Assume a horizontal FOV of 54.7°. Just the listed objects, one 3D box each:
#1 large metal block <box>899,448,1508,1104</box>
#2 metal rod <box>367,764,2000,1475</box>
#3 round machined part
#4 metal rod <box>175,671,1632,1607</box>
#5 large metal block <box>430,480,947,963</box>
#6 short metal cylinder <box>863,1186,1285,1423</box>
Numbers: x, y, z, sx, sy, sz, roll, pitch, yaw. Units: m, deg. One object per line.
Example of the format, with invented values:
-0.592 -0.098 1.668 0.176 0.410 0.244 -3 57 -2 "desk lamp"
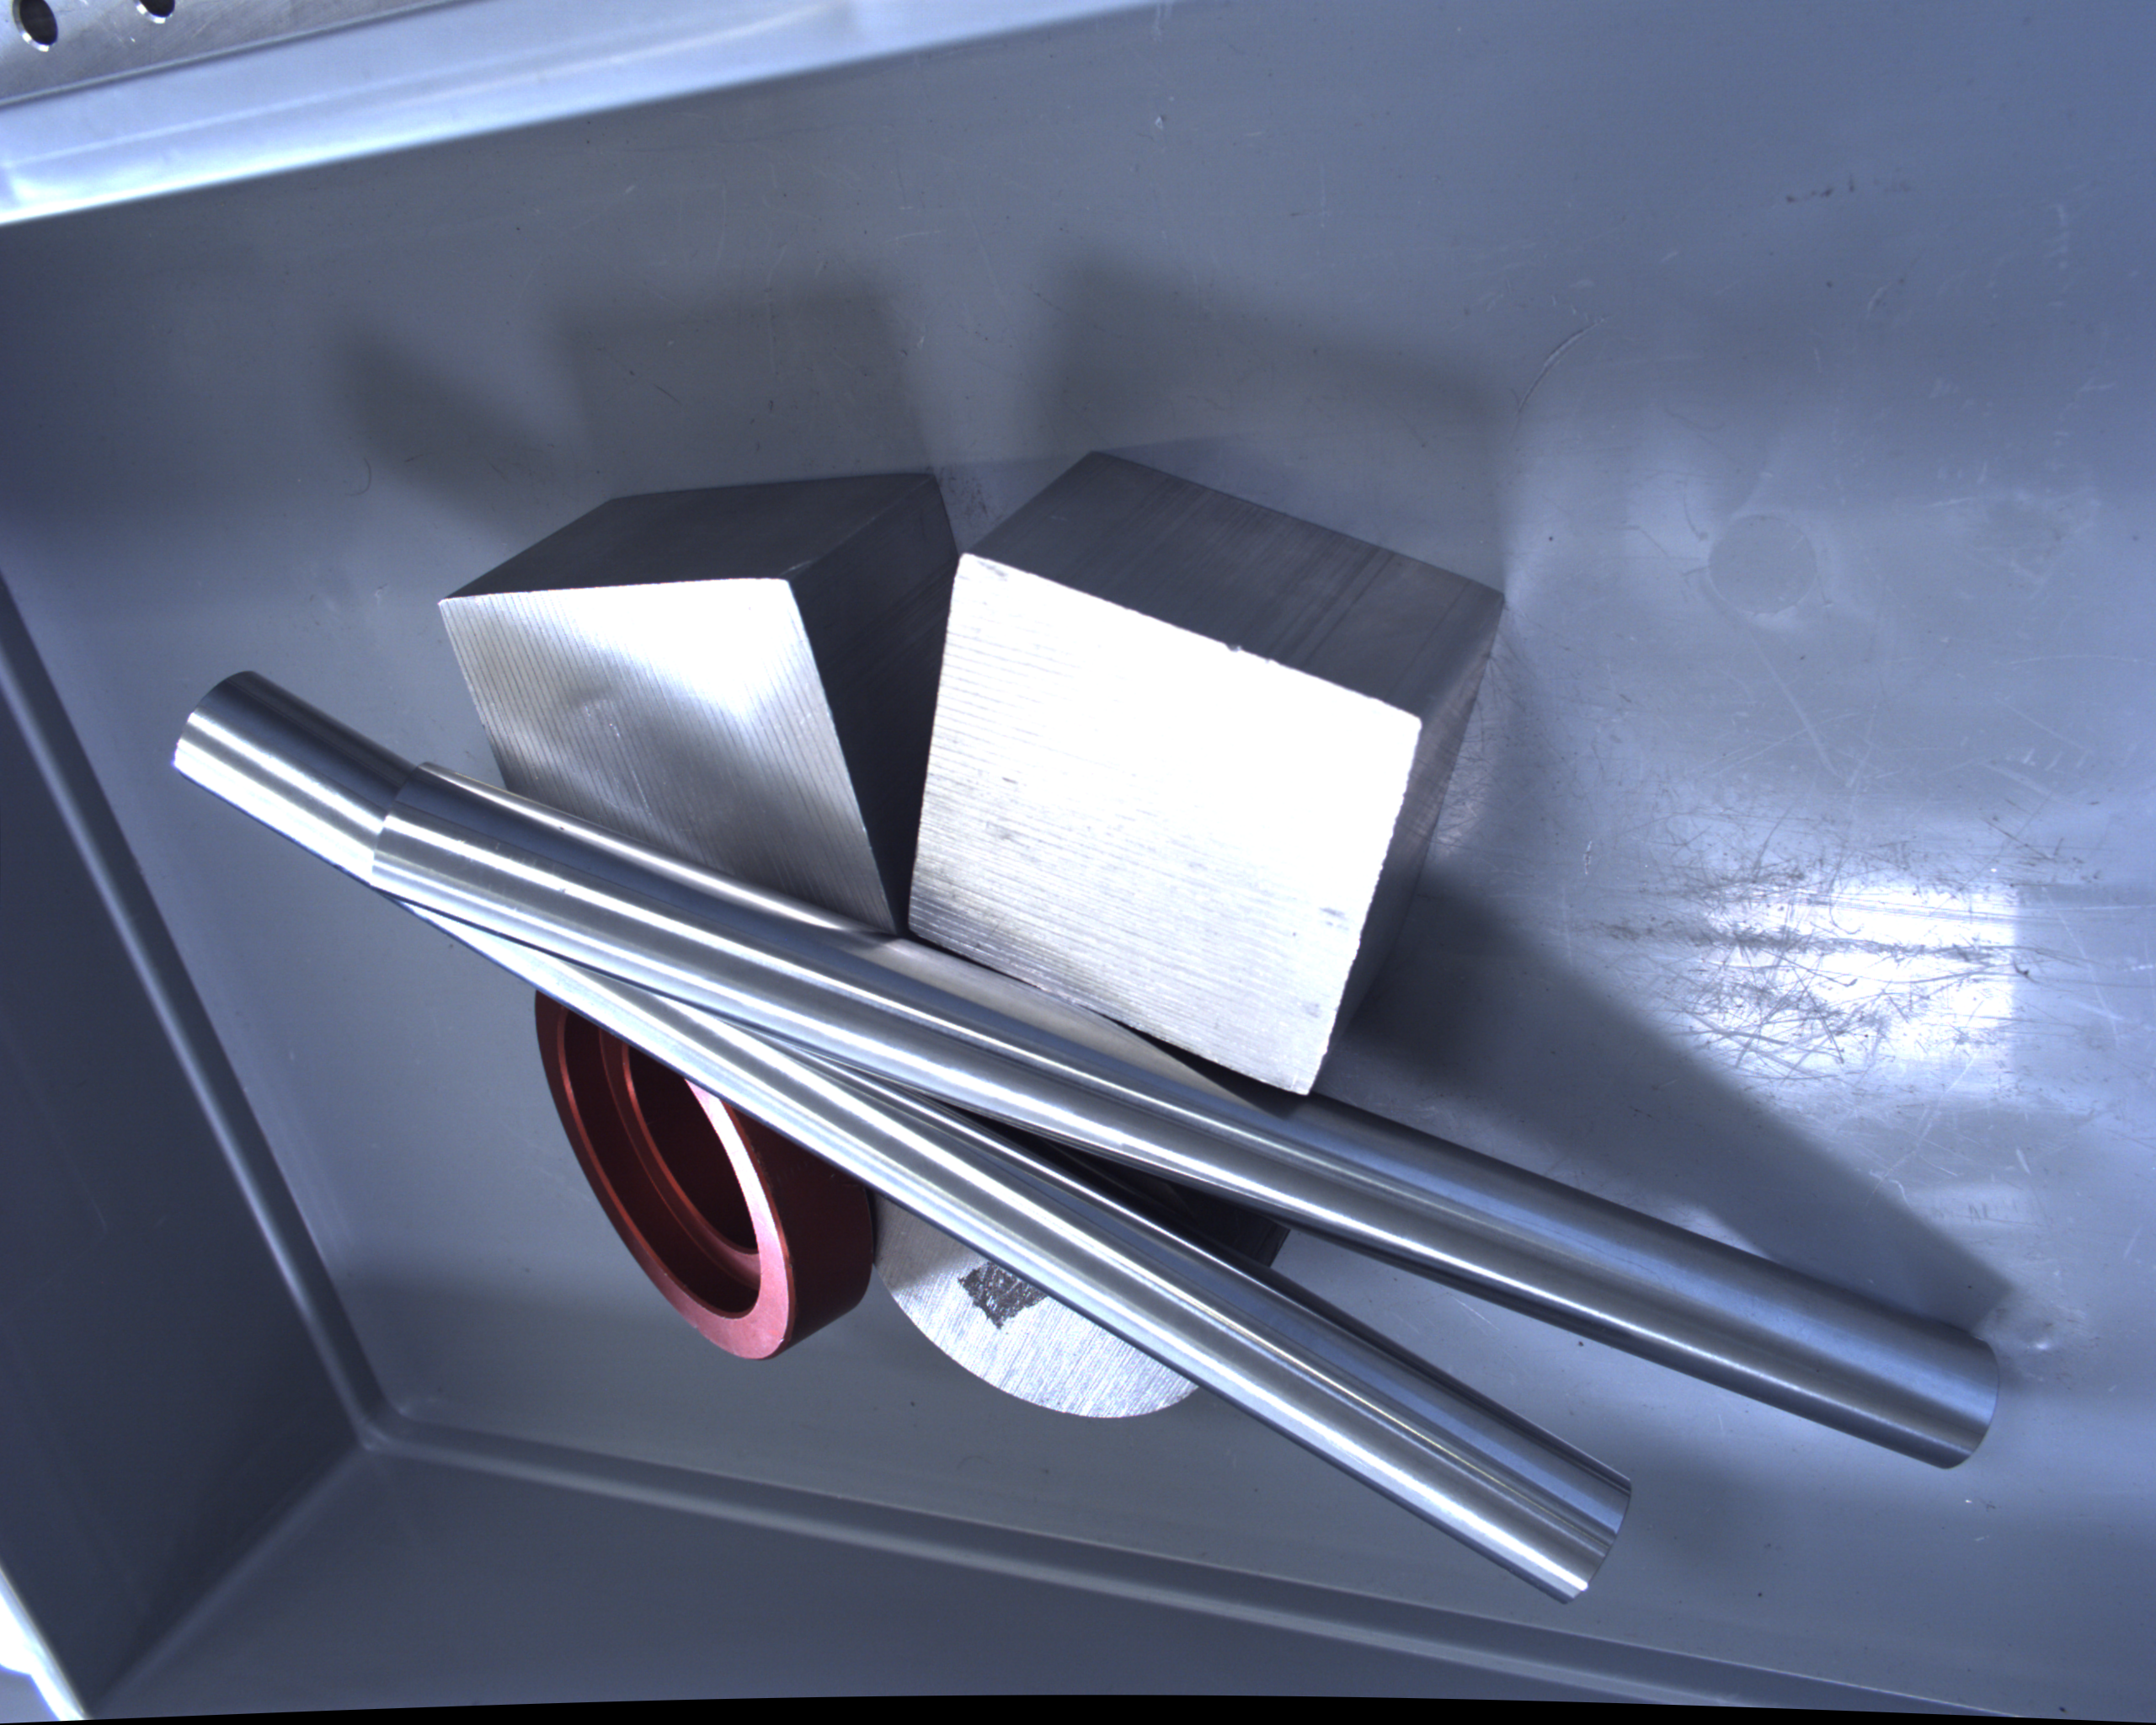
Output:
0.020 -0.016 0.368 0.080 0.050 0.079 22 127 15 "large metal block"
0.021 0.047 0.376 0.302 0.025 0.025 21 128 -2 "metal rod"
-0.074 0.055 0.454 0.098 0.042 0.097 33 137 37 "round machined part"
-0.038 0.047 0.389 0.301 0.025 0.025 30 128 8 "metal rod"
-0.066 -0.025 0.405 0.080 0.050 0.080 1 119 27 "large metal block"
0.002 0.068 0.430 0.080 0.050 0.079 13 124 21 "short metal cylinder"
